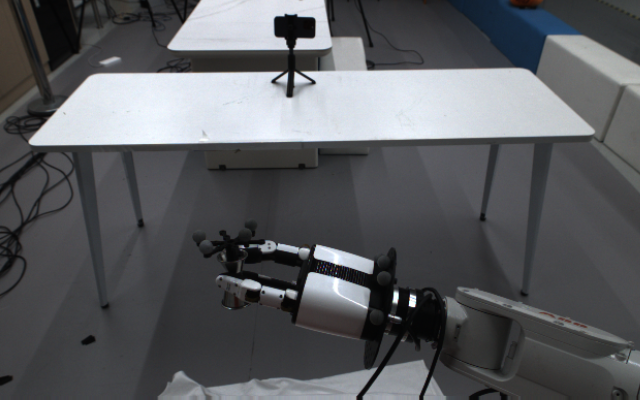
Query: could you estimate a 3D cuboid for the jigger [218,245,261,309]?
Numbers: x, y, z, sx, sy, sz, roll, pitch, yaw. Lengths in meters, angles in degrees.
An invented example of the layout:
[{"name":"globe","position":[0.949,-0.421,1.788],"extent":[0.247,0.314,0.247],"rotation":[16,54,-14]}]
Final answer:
[{"name":"jigger","position":[-0.111,0.103,0.635],"extent":[0.043,0.071,0.043],"rotation":[-2,19,1]}]
